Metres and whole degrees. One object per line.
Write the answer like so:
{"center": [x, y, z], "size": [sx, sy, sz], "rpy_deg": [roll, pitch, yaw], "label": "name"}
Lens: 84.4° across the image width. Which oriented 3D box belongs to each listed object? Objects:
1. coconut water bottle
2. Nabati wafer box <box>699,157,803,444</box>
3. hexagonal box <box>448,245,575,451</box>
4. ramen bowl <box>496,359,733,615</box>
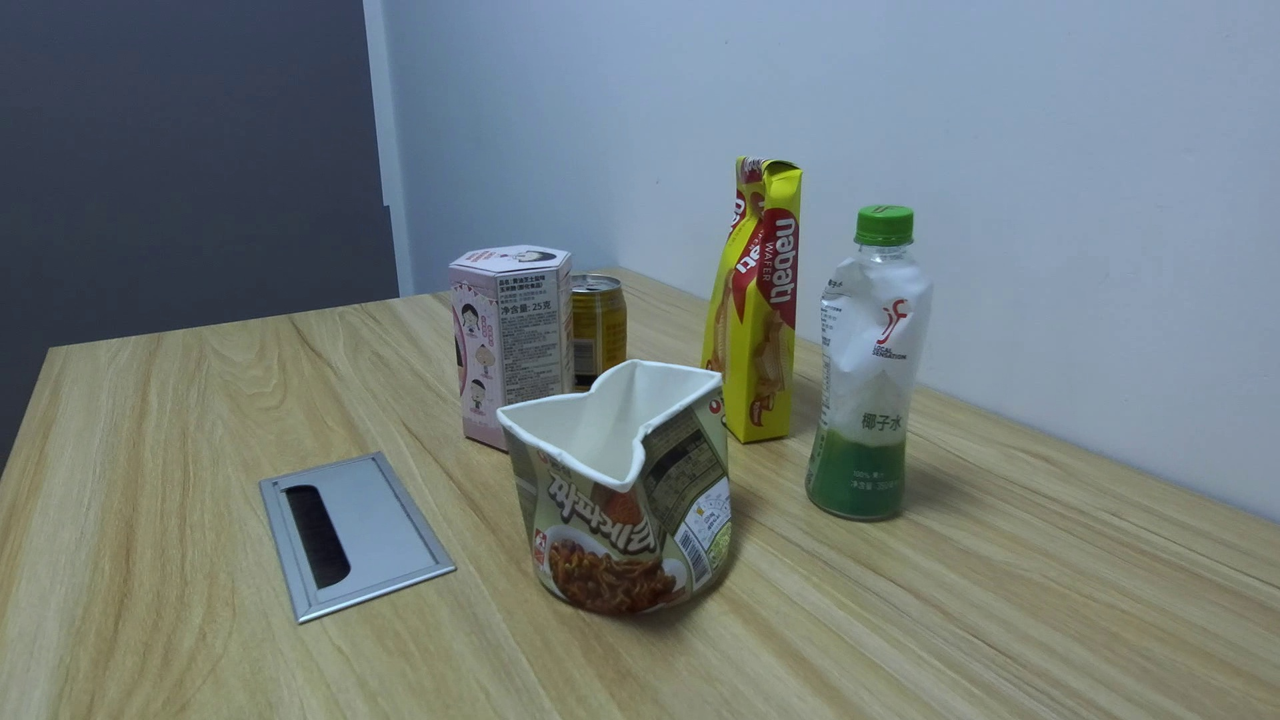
{"center": [0.141, 0.003, 0.429], "size": [0.069, 0.187, 0.069], "rpy_deg": [2, 21, 0], "label": "coconut water bottle"}
{"center": [0.085, -0.047, 0.538], "size": [0.043, 0.205, 0.113], "rpy_deg": [-4, 20, -14], "label": "Nabati wafer box"}
{"center": [-0.094, -0.010, 0.531], "size": [0.084, 0.136, 0.091], "rpy_deg": [2, 20, 4], "label": "hexagonal box"}
{"center": [-0.001, 0.065, 0.393], "size": [0.111, 0.093, 0.129], "rpy_deg": [20, 30, 40], "label": "ramen bowl"}
